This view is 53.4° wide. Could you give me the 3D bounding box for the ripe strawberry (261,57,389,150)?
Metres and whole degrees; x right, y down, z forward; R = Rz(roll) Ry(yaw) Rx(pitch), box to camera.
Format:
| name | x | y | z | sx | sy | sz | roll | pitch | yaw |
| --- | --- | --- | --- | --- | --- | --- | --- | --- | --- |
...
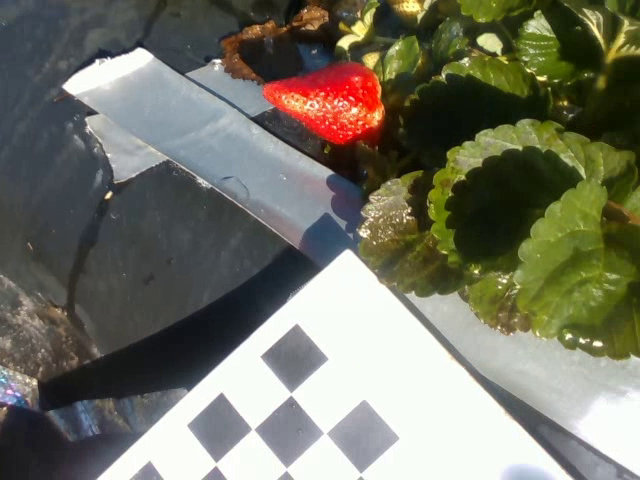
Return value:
| name | x | y | z | sx | sy | sz | roll | pitch | yaw |
| --- | --- | --- | --- | --- | --- | --- | --- | --- | --- |
| ripe strawberry | -0.001 | -0.073 | 0.346 | 0.065 | 0.062 | 0.057 | 1 | -16 | -32 |
